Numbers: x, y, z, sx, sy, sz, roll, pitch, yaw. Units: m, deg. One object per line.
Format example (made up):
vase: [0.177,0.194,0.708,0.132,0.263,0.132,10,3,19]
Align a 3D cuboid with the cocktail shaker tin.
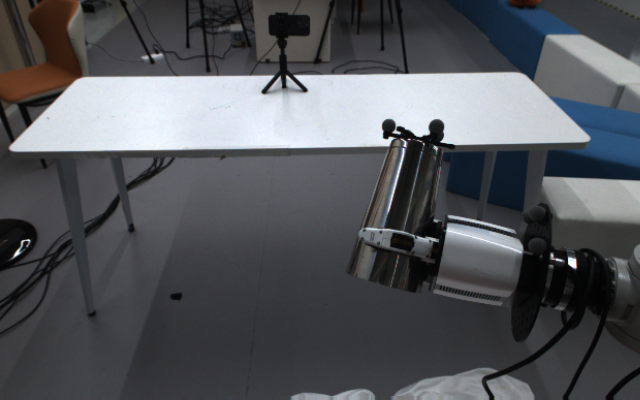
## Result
cocktail shaker tin: [0.098,0.017,0.586,0.093,0.170,0.093,15,-4,1]
